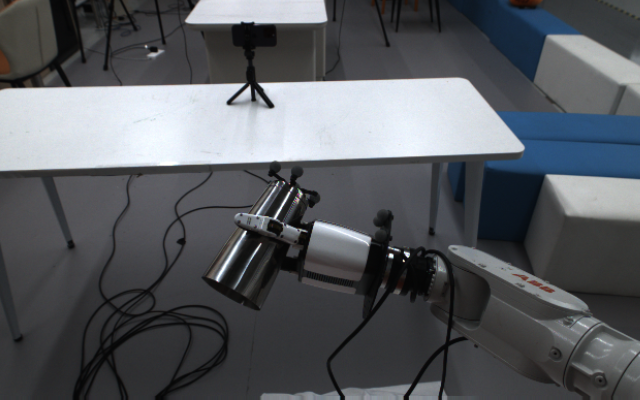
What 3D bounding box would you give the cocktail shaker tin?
[{"bbox_3d":[-0.081,0.056,0.684,0.093,0.093,0.170,18,66,22],"label":"cocktail shaker tin"}]
